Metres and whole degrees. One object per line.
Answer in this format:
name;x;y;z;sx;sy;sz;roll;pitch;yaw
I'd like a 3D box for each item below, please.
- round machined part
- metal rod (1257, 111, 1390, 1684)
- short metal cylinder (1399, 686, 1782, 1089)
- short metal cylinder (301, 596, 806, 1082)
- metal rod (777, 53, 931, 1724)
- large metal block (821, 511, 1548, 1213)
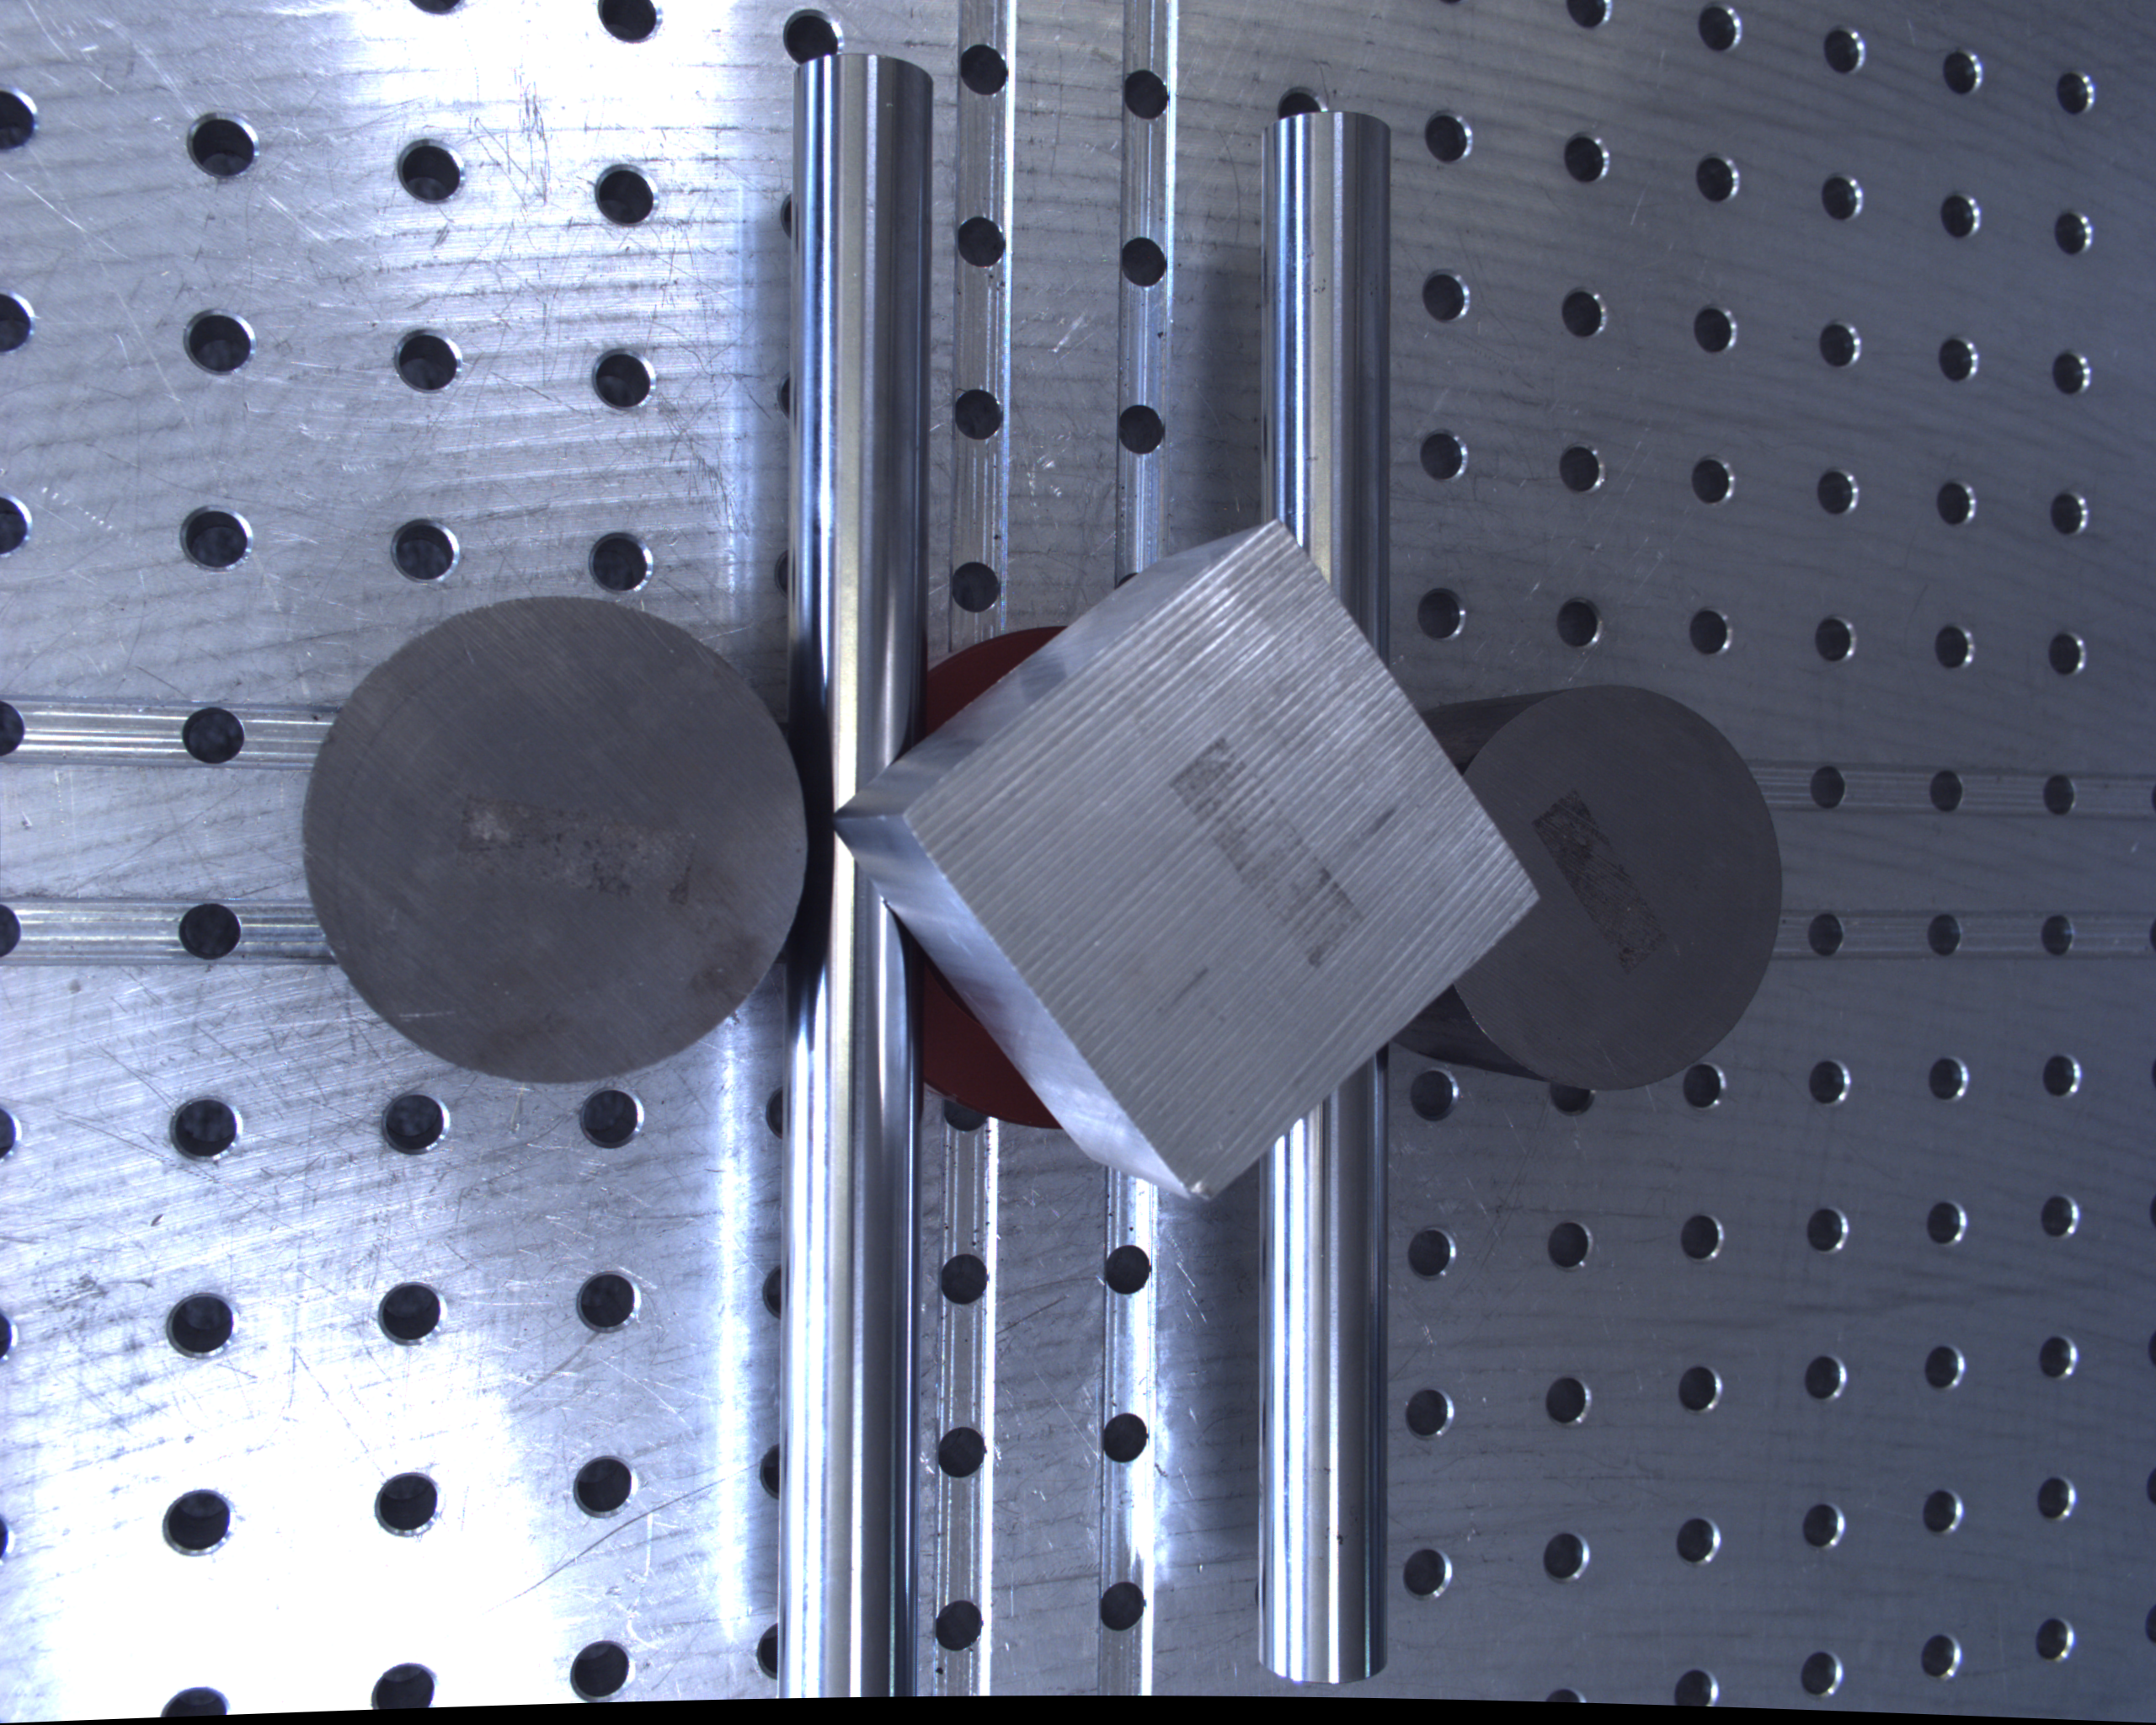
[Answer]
round machined part;-0.001;0.003;0.404;0.099;0.042;0.097;0;90;-20
metal rod;0.048;0.007;0.408;0.025;0.025;0.298;0;90;-20
short metal cylinder;0.097;0.005;0.434;0.081;0.050;0.080;0;90;-20
short metal cylinder;-0.093;-0.004;0.365;0.081;0.050;0.080;0;90;-20
metal rod;-0.040;0.008;0.375;0.025;0.025;0.298;1;90;-20
large metal block;0.017;-0.001;0.355;0.080;0.050;0.080;-40;103;-16
